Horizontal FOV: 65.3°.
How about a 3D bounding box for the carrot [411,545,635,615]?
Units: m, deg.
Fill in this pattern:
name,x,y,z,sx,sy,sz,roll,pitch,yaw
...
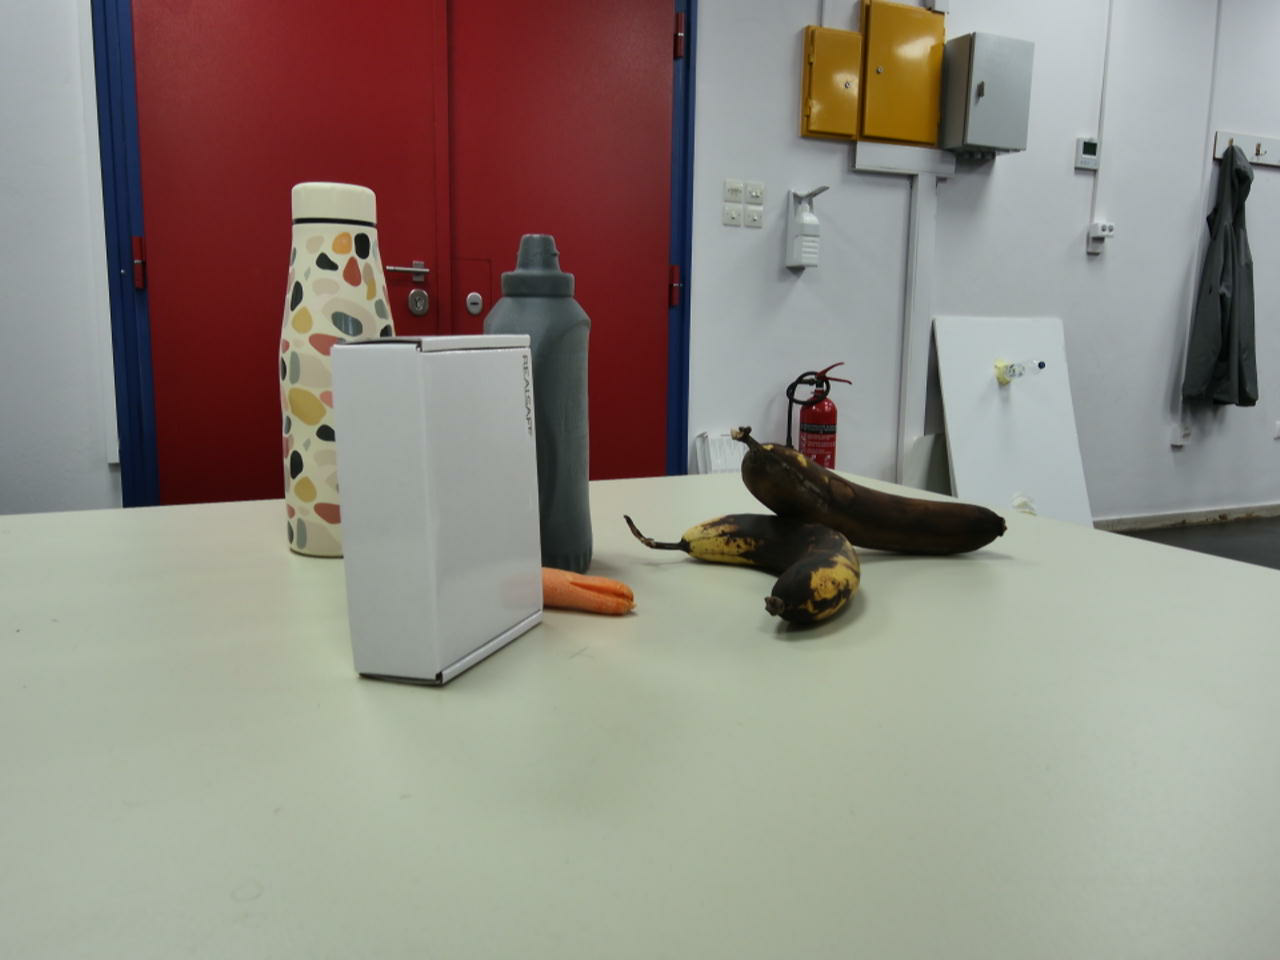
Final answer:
name,x,y,z,sx,sy,sz,roll,pitch,yaw
carrot,-0.068,0.055,0.557,0.136,0.032,0.030,3,7,20
